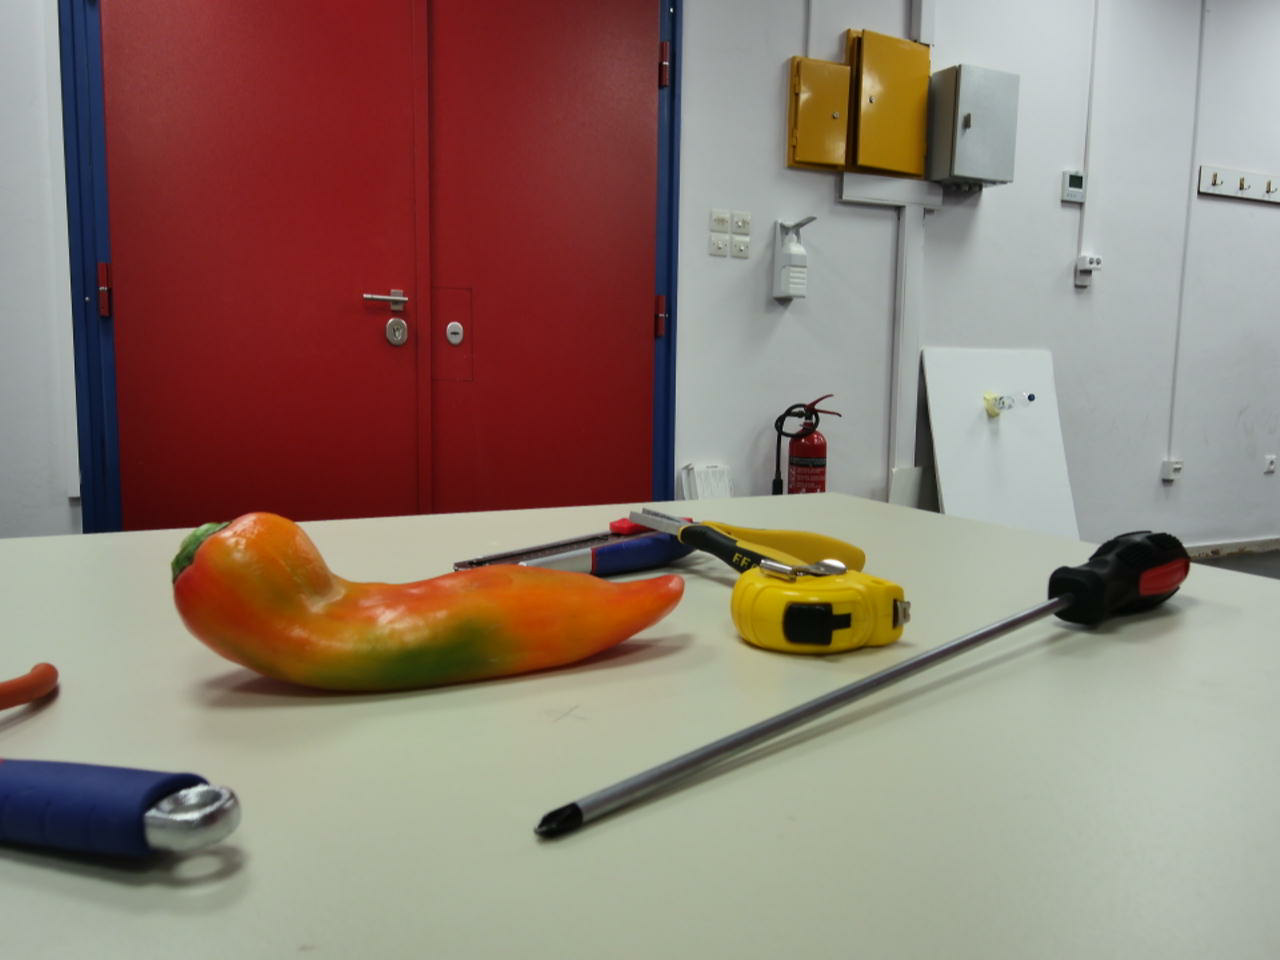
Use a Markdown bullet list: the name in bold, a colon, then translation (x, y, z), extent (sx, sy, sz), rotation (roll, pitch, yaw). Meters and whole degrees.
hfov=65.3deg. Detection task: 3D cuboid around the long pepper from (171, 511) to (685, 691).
- **long pepper**: translation (-0.071, 0.042, 0.386), extent (0.199, 0.065, 0.066), rotation (-2, 4, -21)
